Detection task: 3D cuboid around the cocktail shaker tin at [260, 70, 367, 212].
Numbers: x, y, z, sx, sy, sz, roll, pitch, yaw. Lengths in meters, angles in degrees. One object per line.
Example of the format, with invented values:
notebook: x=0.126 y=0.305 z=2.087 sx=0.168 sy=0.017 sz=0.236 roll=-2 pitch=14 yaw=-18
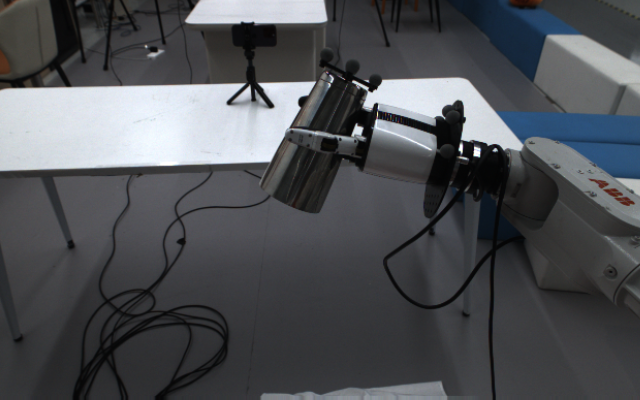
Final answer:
cocktail shaker tin: x=-0.002 y=-0.080 z=0.640 sx=0.093 sy=0.170 sz=0.093 roll=24 pitch=12 yaw=-6
